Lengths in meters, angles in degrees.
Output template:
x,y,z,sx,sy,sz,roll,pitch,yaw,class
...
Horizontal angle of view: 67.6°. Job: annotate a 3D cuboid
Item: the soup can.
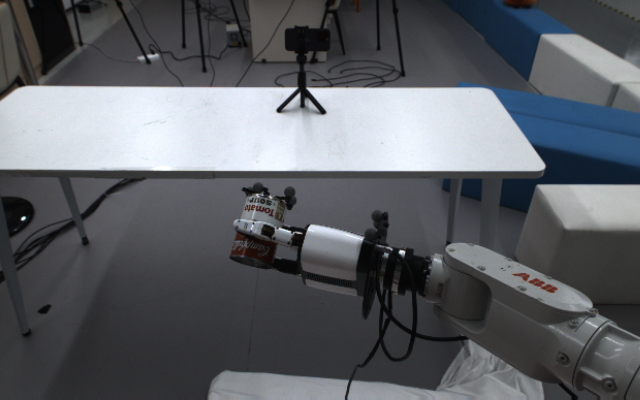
x,y,z,sx,sy,sz,roll,pitch,yaw,class
-0.094,0.050,0.748,0.067,0.067,0.101,9,72,10,soup can
